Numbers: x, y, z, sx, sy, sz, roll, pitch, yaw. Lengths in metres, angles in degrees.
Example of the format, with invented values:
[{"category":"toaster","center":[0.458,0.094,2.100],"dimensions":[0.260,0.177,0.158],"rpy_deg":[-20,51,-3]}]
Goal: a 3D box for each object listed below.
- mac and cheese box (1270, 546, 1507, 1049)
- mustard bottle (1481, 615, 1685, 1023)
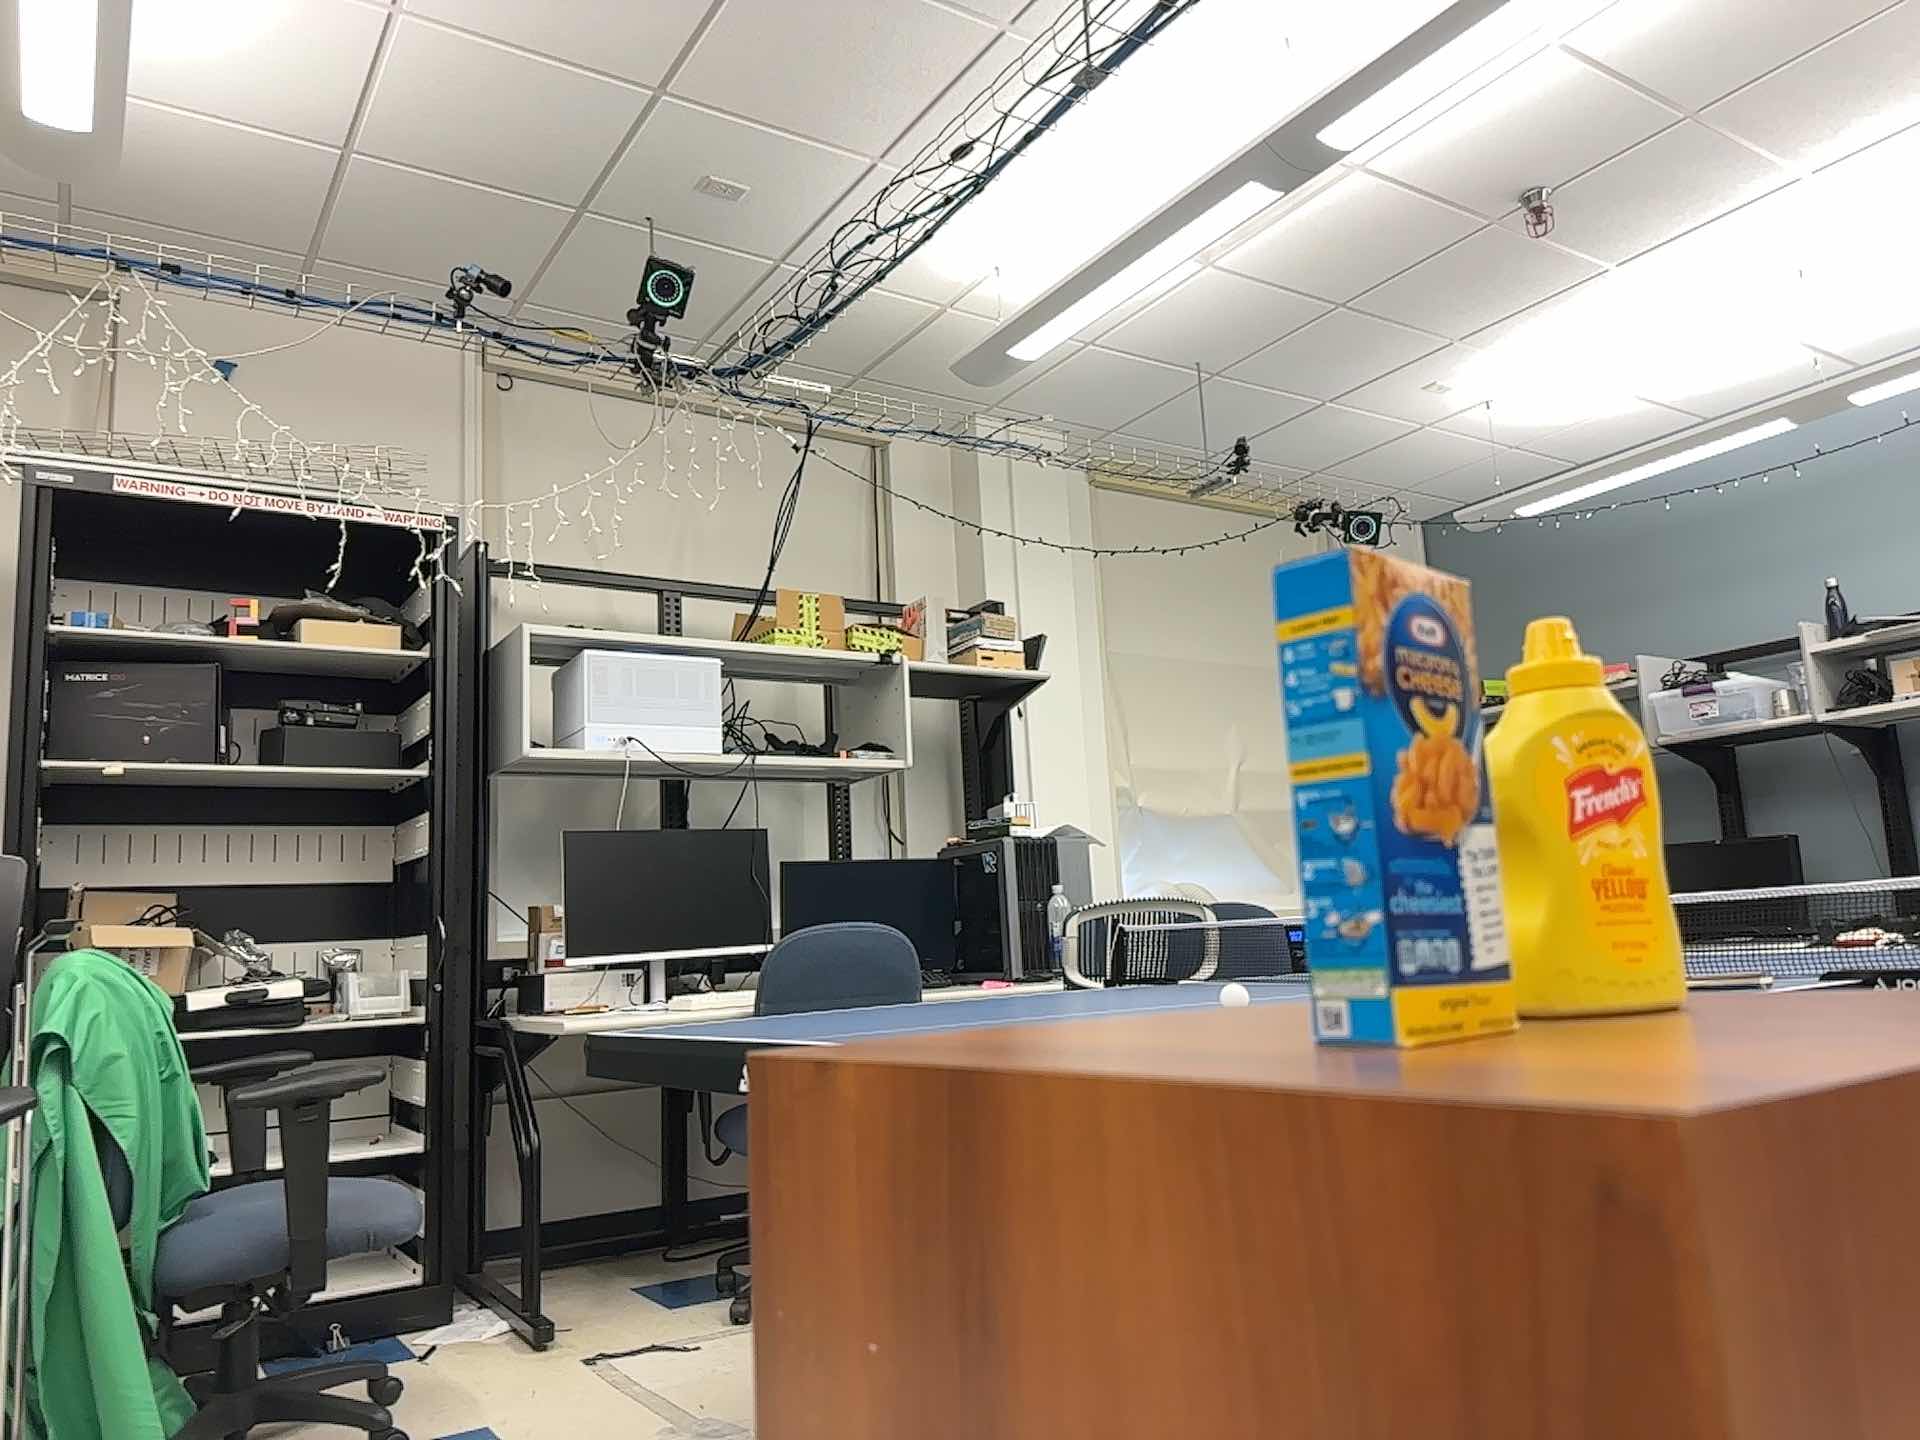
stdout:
[{"category":"mac and cheese box","center":[0.168,0.031,0.526],"dimensions":[0.088,0.181,0.035],"rpy_deg":[6,-11,-39]},{"category":"mustard bottle","center":[0.278,0.042,0.615],"dimensions":[0.092,0.184,0.054],"rpy_deg":[0,-9,-16]}]
